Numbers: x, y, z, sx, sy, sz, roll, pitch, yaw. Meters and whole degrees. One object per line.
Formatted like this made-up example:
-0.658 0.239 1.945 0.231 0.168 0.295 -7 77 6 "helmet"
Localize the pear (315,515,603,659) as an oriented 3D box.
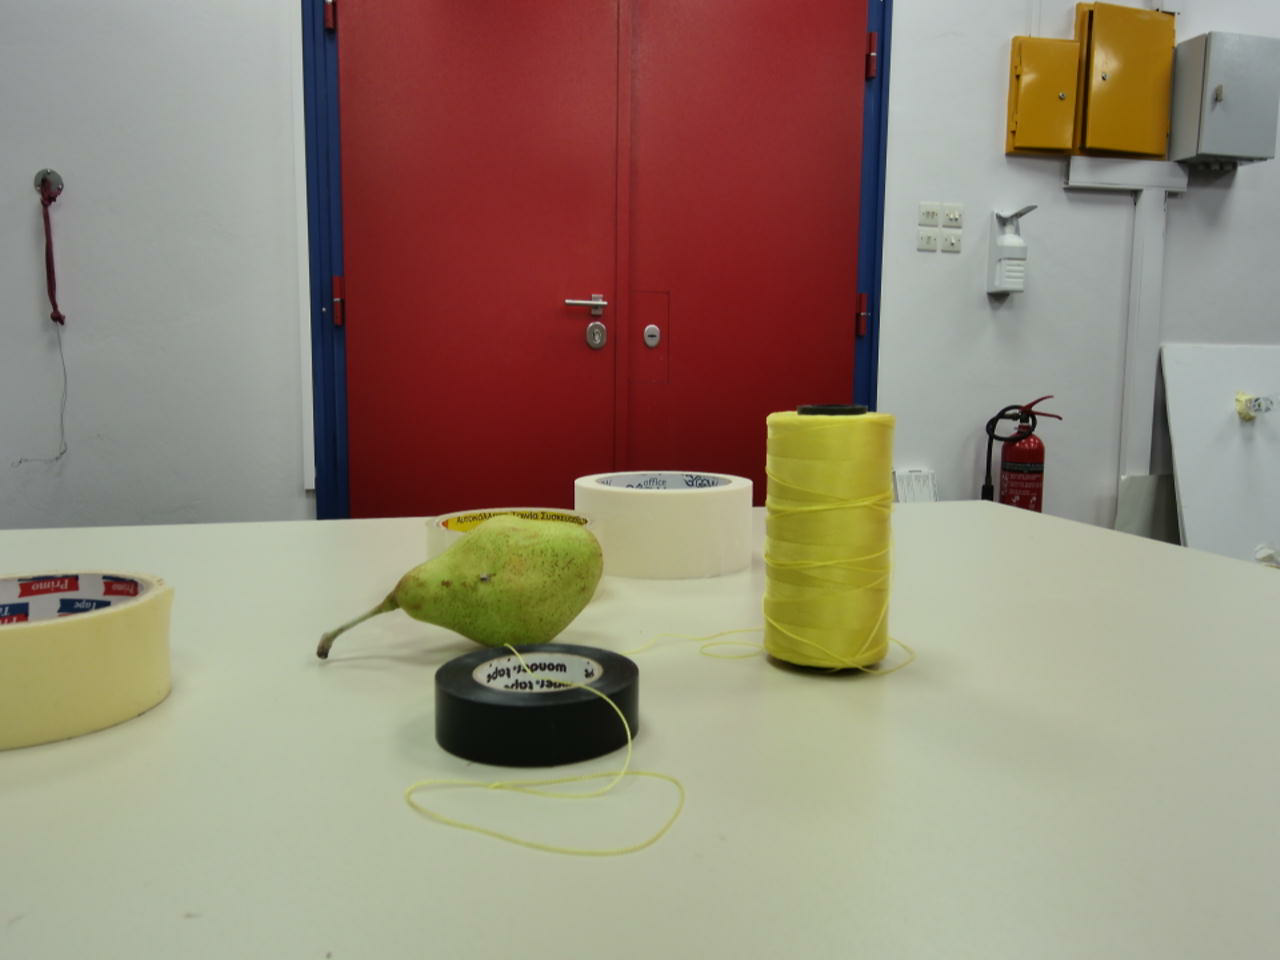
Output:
-0.071 0.043 0.416 0.111 0.056 0.056 0 4 2 "pear"
